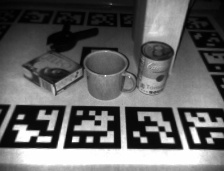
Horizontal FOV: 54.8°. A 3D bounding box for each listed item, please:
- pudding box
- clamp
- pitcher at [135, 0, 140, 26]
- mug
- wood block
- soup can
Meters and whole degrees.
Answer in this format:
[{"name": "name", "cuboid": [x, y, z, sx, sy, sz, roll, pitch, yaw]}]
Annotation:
[{"name": "pudding box", "cuboid": [-0.143, -0.038, 0.509, 0.112, 0.039, 0.090, 28, 53, 24]}, {"name": "clamp", "cuboid": [-0.124, -0.147, 0.628, 0.121, 0.036, 0.166, 26, 49, 12]}, {"name": "pitcher", "cuboid": [0.132, -0.241, 0.580, 0.189, 0.244, 0.132, -3, 43, -1]}, {"name": "mug", "cuboid": [0.000, -0.022, 0.466, 0.116, 0.082, 0.094, 26, 47, 24]}, {"name": "wood block", "cuboid": [0.109, -0.145, 0.504, 0.090, 0.207, 0.090, 0, 44, -7]}, {"name": "soup can", "cuboid": [0.093, -0.045, 0.477, 0.068, 0.102, 0.067, 1, 47, 0]}]
